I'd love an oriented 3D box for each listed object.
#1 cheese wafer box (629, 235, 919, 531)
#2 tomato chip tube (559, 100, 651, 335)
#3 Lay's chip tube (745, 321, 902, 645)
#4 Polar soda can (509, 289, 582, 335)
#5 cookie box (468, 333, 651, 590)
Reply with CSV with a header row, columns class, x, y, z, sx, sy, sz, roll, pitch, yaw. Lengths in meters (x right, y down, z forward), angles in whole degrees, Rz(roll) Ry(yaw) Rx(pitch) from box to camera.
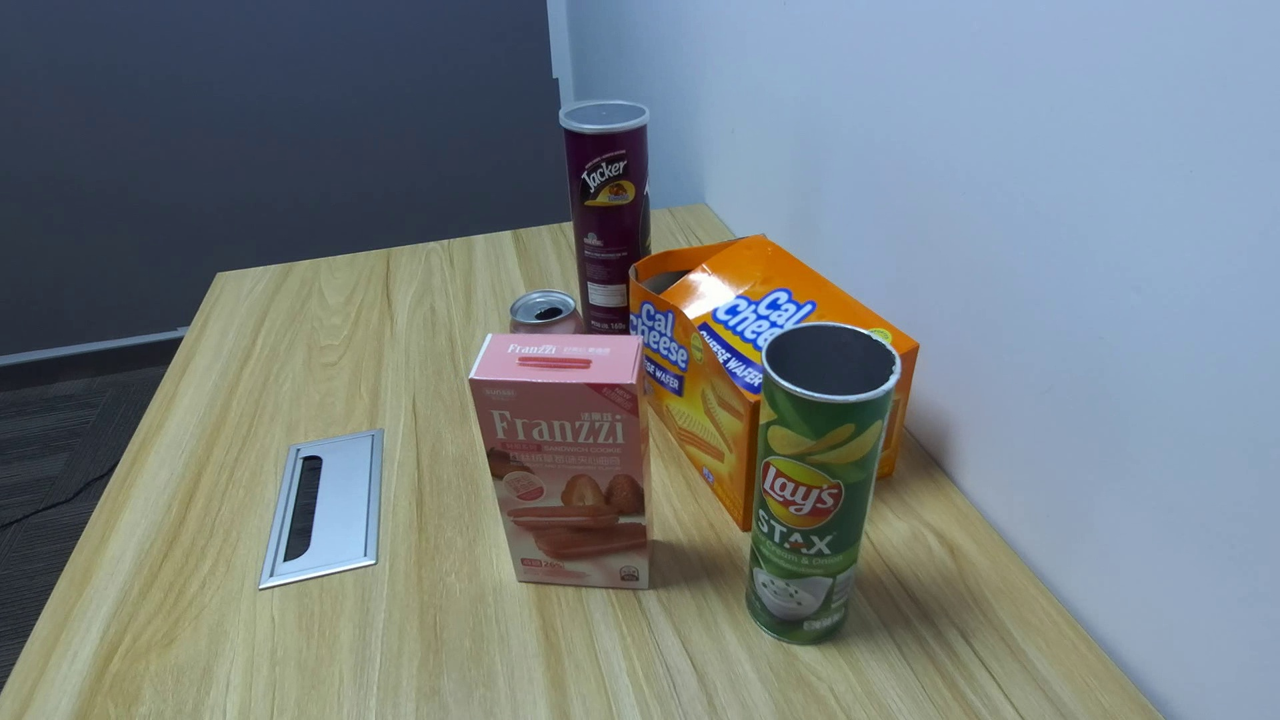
class,x,y,z,sx,sy,sz,roll,pitch,yaw
cheese wafer box,0.094,0.004,0.599,0.152,0.132,0.229,-17,39,-17
tomato chip tube,-0.027,-0.116,0.688,0.078,0.234,0.078,-2,27,1
Lay's chip tube,0.102,0.079,0.415,0.071,0.203,0.071,-2,35,2
Polar soda can,-0.078,0.007,0.613,0.067,0.122,0.074,10,34,16
cookie box,-0.043,0.072,0.459,0.096,0.185,0.048,1,36,5
